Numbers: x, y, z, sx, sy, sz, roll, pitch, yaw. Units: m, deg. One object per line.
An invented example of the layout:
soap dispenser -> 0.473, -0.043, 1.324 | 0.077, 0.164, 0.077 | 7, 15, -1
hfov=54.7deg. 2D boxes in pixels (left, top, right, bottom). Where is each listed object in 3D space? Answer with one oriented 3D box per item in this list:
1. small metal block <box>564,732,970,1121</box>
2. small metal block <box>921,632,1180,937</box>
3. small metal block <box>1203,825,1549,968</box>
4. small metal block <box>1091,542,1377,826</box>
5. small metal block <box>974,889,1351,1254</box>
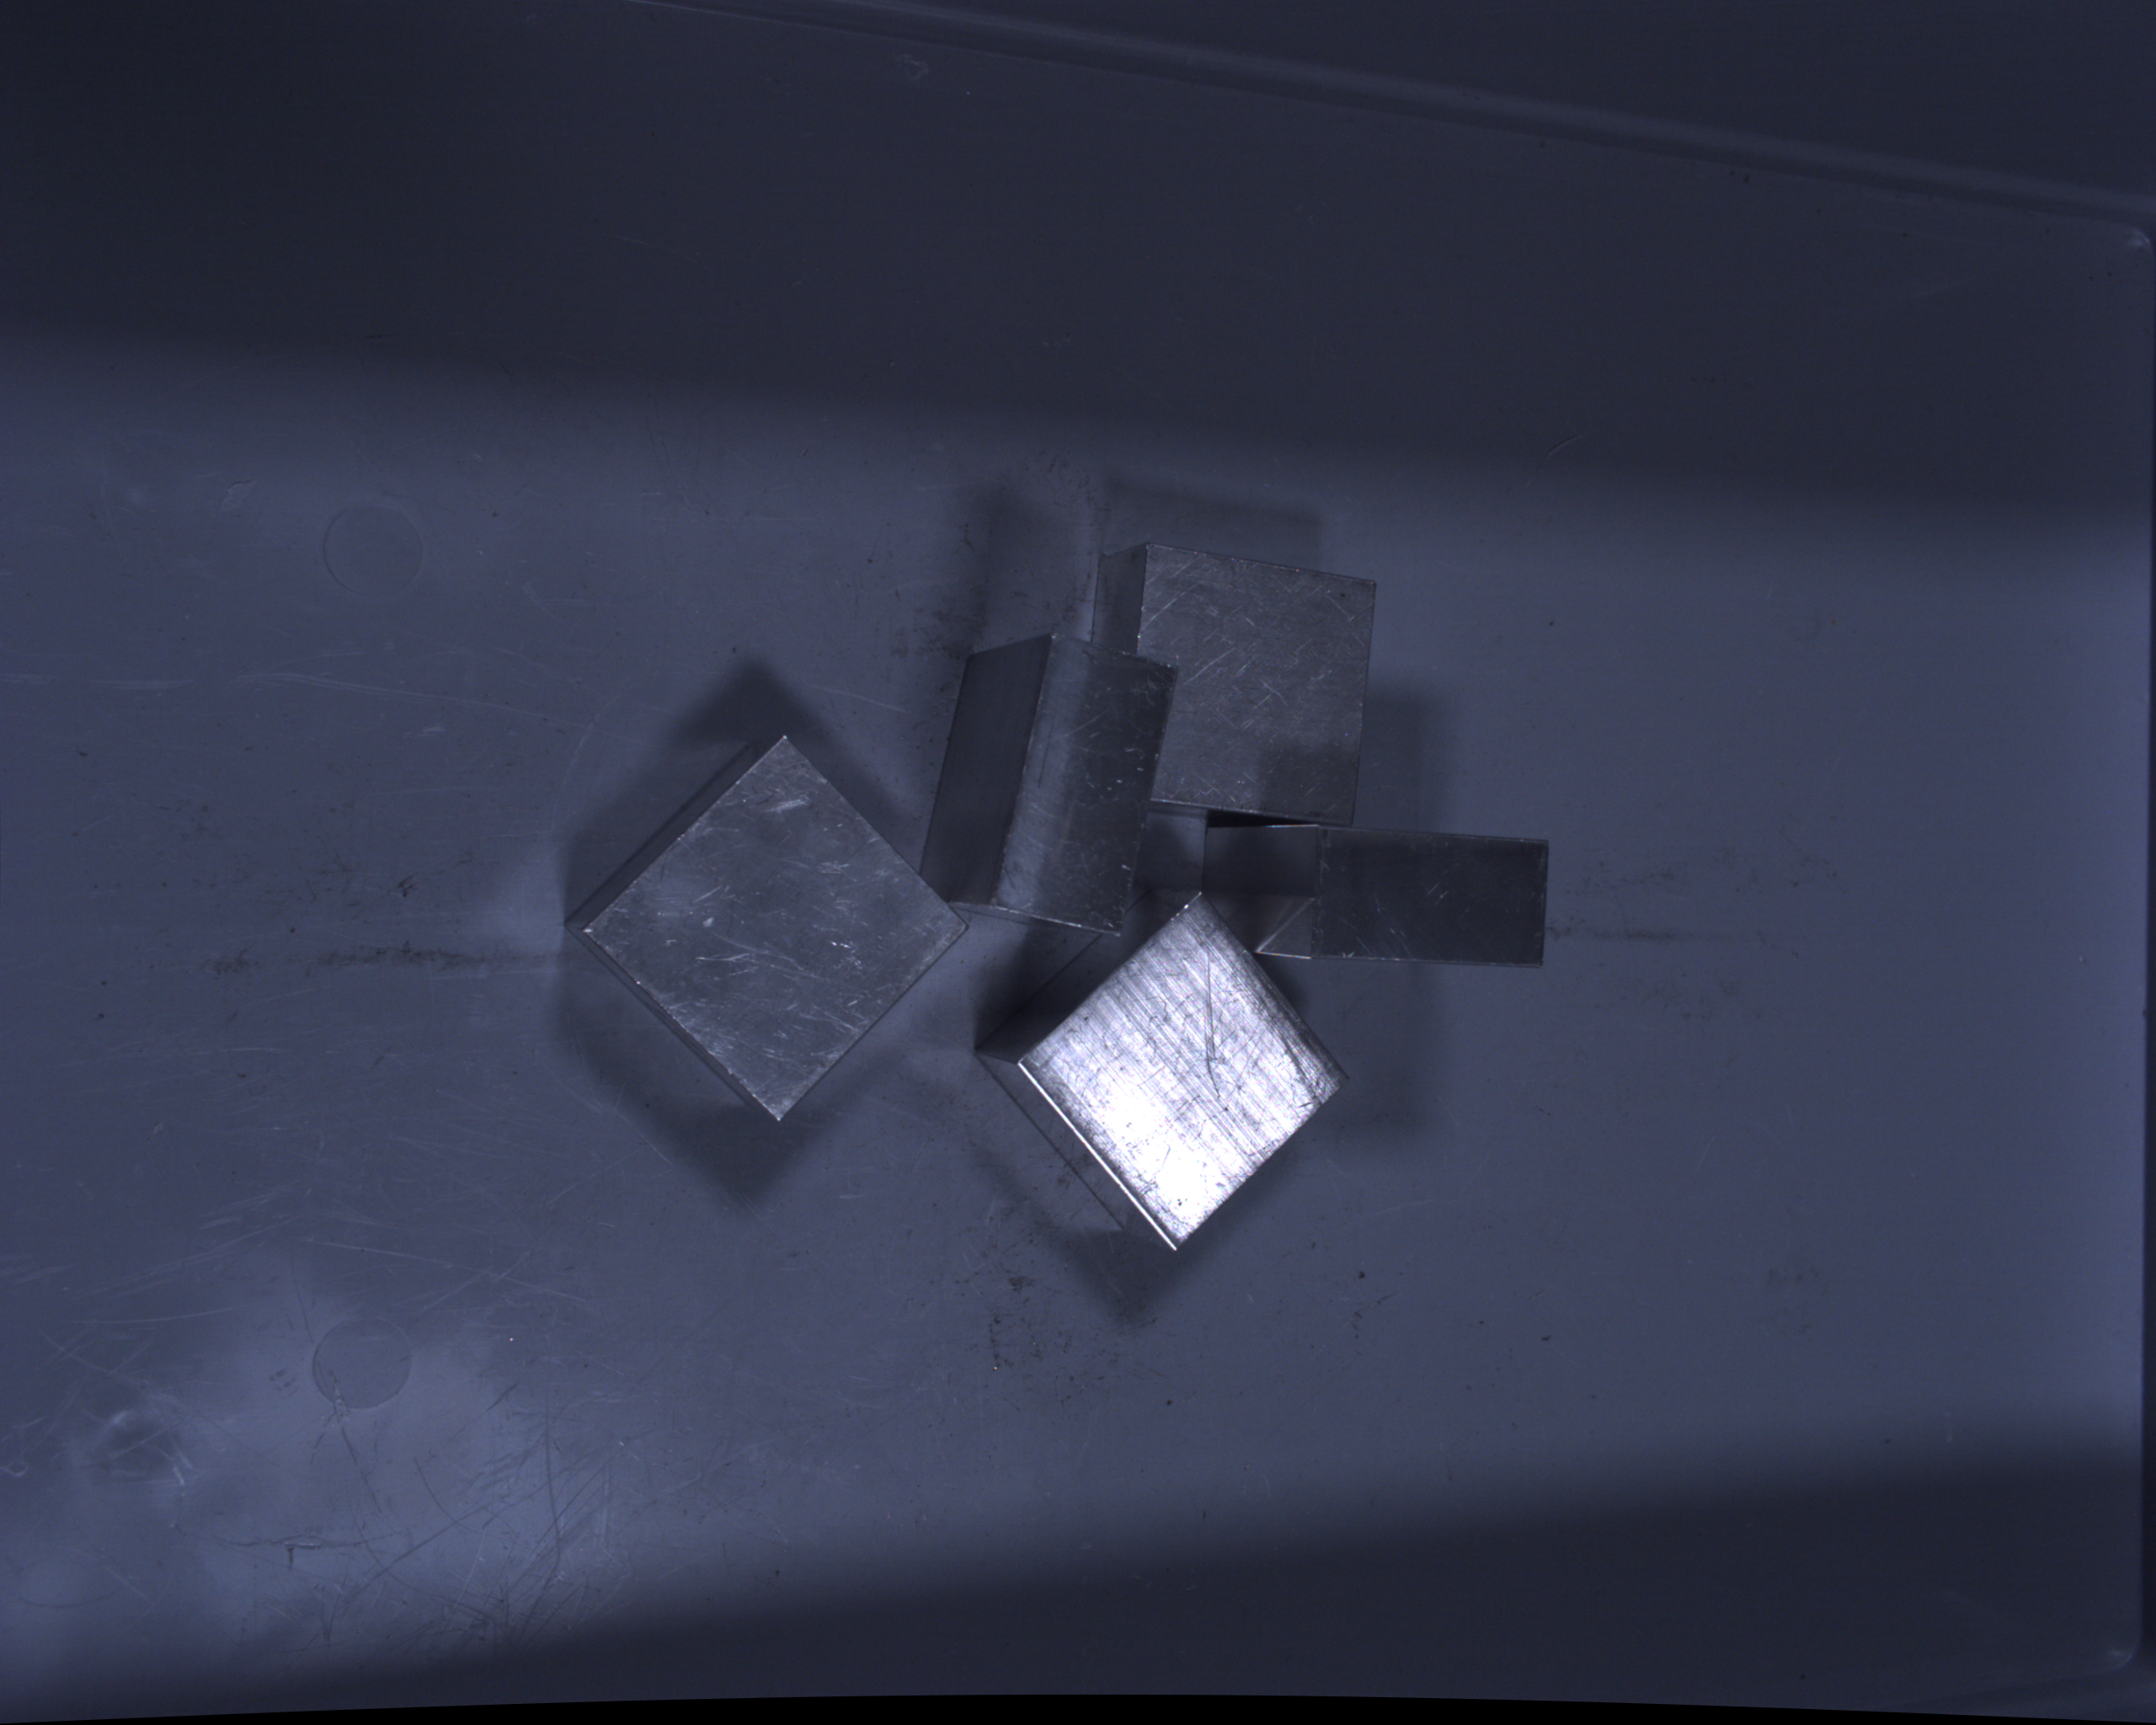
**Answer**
small metal block -> -0.058, 0.012, 0.388 | 0.050, 0.025, 0.050 | -47, 105, -14
small metal block -> -0.007, -0.014, 0.393 | 0.025, 0.050, 0.050 | 13, 86, -20
small metal block -> 0.058, 0.007, 0.418 | 0.050, 0.050, 0.025 | 3, 89, -20
small metal block -> 0.029, -0.034, 0.421 | 0.050, 0.025, 0.050 | 7, 88, -20
small metal block -> 0.017, 0.041, 0.416 | 0.050, 0.025, 0.050 | -43, 104, -15
